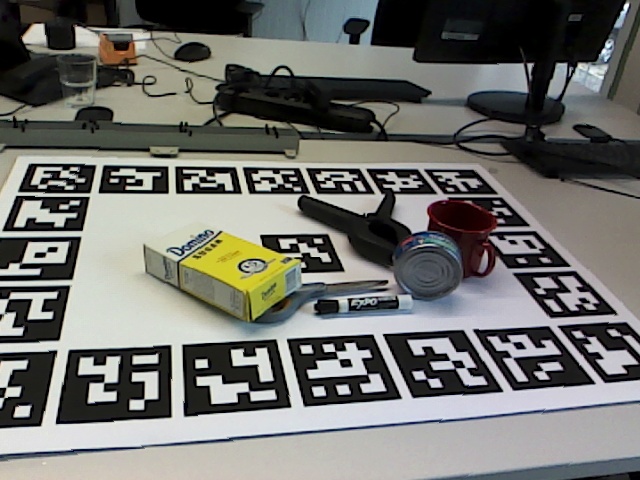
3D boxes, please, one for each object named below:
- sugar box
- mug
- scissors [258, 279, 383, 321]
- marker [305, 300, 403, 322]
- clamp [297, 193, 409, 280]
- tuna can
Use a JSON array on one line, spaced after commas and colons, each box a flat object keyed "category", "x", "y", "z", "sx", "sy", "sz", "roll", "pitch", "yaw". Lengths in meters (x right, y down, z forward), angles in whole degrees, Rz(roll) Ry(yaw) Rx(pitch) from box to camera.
[{"category": "sugar box", "x": -0.118, "y": 0.037, "z": 0.759, "sx": 0.178, "sy": 0.045, "sz": 0.092, "roll": 24, "pitch": 34, "yaw": 35}, {"category": "mug", "x": 0.184, "y": 0.014, "z": 0.844, "sx": 0.093, "sy": 0.081, "sz": 0.118, "roll": -18, "pitch": 36, "yaw": -36}, {"category": "scissors", "x": -0.011, "y": 0.062, "z": 0.773, "sx": 0.202, "sy": 0.016, "sz": 0.088, "roll": -5, "pitch": 30, "yaw": -23}, {"category": "marker", "x": 0.041, "y": 0.086, "z": 0.750, "sx": 0.120, "sy": 0.019, "sz": 0.020, "roll": -3, "pitch": 34, "yaw": -16}, {"category": "clamp", "x": 0.074, "y": -0.009, "z": 0.914, "sx": 0.164, "sy": 0.036, "sz": 0.204, "roll": -6, "pitch": 35, "yaw": -22}, {"category": "tuna can", "x": 0.137, "y": 0.039, "z": 0.784, "sx": 0.086, "sy": 0.085, "sz": 0.034, "roll": 9, "pitch": 31, "yaw": 1}]
